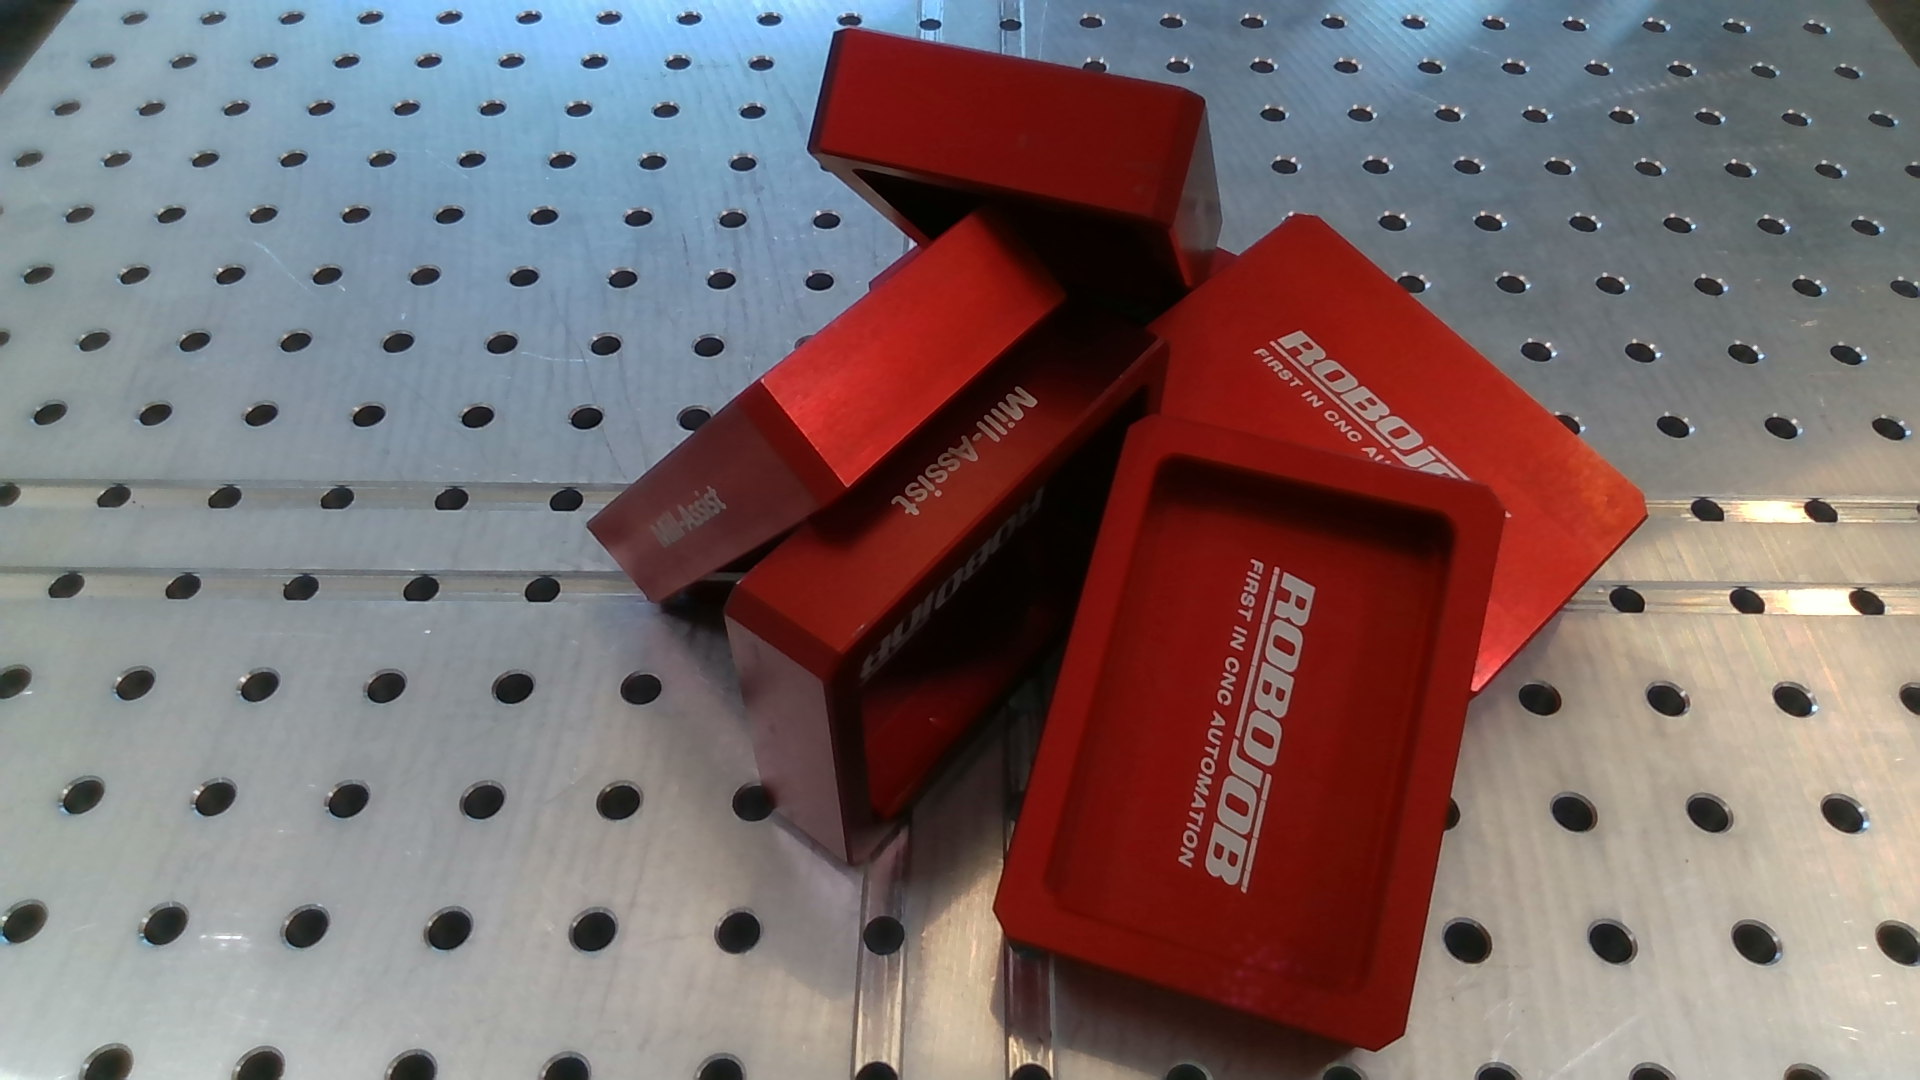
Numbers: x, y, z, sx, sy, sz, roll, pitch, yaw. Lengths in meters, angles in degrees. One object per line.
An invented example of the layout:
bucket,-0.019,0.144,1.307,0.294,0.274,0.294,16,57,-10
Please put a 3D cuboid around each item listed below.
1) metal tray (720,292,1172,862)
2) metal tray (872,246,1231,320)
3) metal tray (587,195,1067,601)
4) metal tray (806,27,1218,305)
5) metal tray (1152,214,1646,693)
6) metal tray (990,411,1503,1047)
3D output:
metal tray,0.001,0.008,0.346,0.030,0.090,0.130,31,57,23
metal tray,0.046,-0.068,0.450,0.130,0.030,0.090,31,58,24
metal tray,-0.040,-0.033,0.362,0.090,0.130,0.030,-44,101,-30
metal tray,0.022,-0.096,0.379,0.090,0.130,0.030,15,94,12
metal tray,0.112,-0.023,0.389,0.090,0.030,0.130,-38,74,-23
metal tray,0.068,0.042,0.327,0.090,0.030,0.130,14,74,12
